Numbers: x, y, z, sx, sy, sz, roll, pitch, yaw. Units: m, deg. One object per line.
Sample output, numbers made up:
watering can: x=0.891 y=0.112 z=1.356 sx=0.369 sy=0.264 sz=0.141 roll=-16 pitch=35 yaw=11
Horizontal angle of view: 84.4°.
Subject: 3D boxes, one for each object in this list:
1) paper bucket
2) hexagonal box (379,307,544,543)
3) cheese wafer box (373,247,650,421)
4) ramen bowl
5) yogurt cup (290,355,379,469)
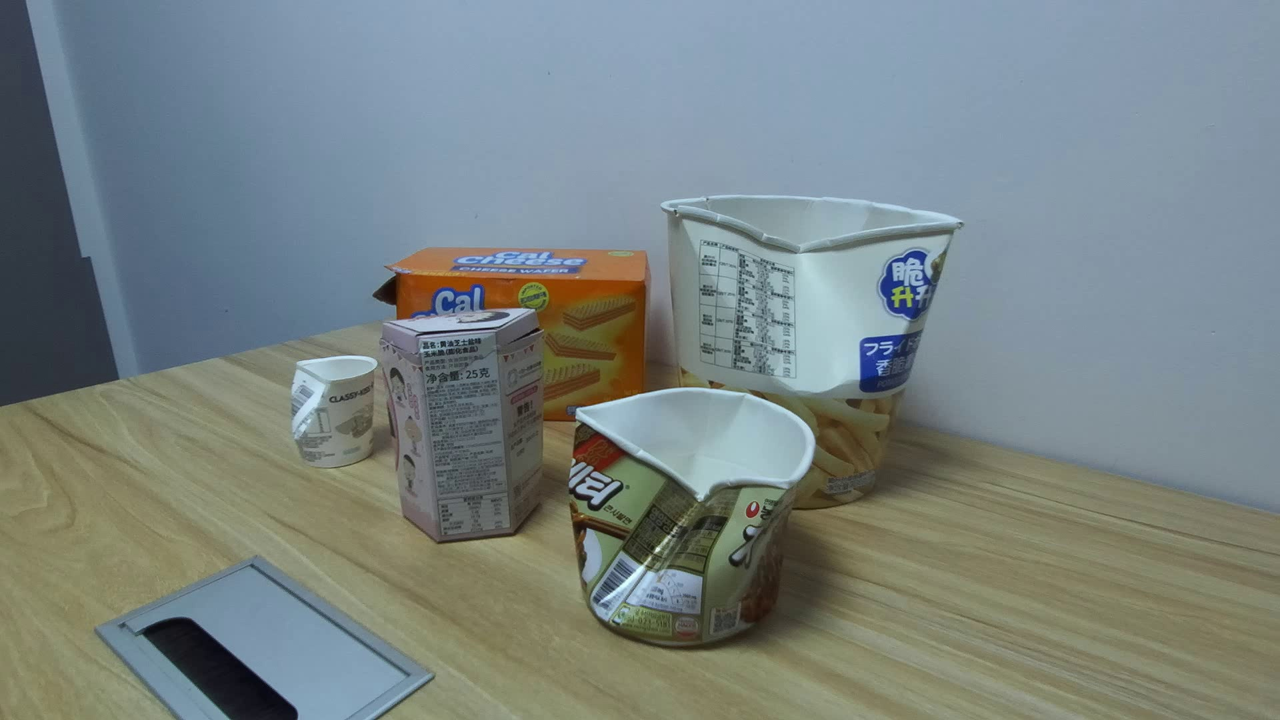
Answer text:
paper bucket: x=0.100 y=-0.013 z=0.512 sx=0.163 sy=0.202 sz=0.168 roll=-7 pitch=17 yaw=-20
hexagonal box: x=-0.109 y=0.037 z=0.452 sx=0.085 sy=0.135 sz=0.092 roll=6 pitch=19 yaw=19
cheese wafer box: x=-0.104 y=-0.032 z=0.660 sx=0.227 sy=0.137 sz=0.149 roll=1 pitch=18 yaw=1
ramen bowl: x=0.032 y=0.080 z=0.388 sx=0.137 sy=0.098 sz=0.137 roll=4 pitch=20 yaw=-1
yogurt cup: x=-0.231 y=0.039 z=0.538 sx=0.067 sy=0.070 sz=0.067 roll=1 pitch=18 yaw=0
